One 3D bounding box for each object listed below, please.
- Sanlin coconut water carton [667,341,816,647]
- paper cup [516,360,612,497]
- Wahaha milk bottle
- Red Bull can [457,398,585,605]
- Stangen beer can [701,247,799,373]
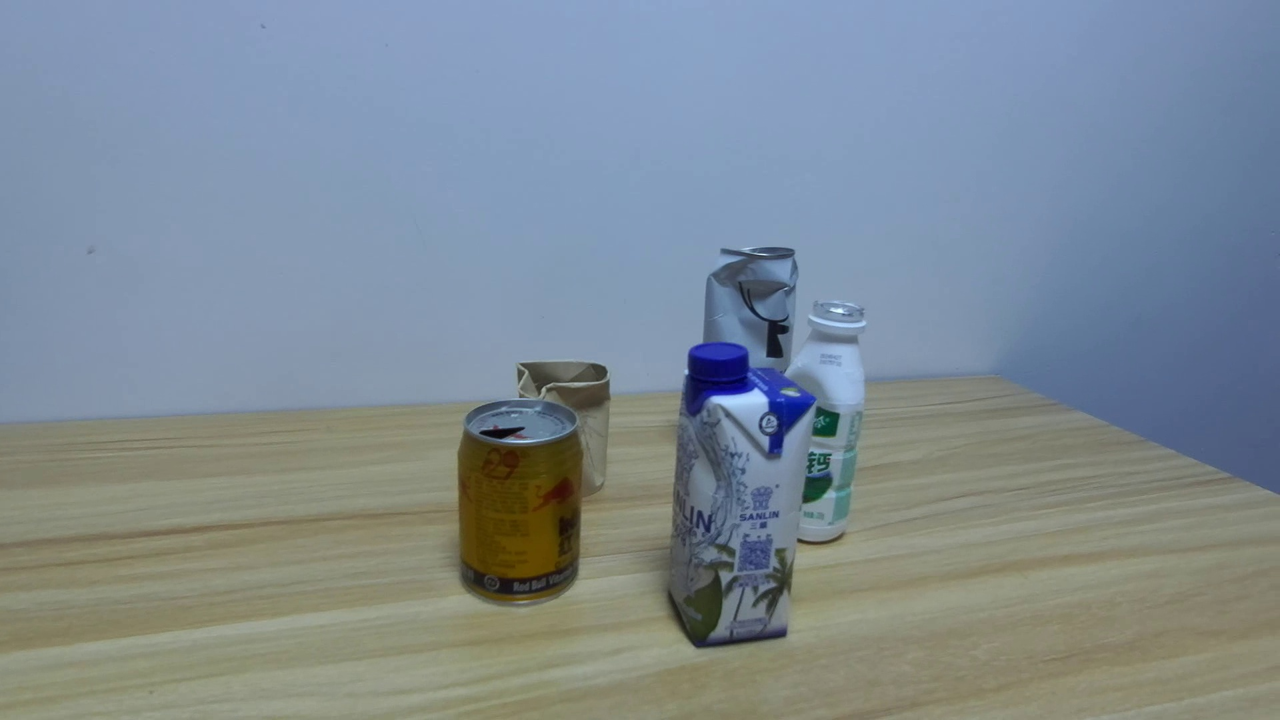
[{"bbox_3d":[0.048,0.064,0.350,0.061,0.144,0.060,0,16,-15],"label":"Sanlin coconut water carton"},{"bbox_3d":[-0.050,0.049,0.484,0.066,0.083,0.058,-2,20,-10],"label":"paper cup"},{"bbox_3d":[0.114,0.038,0.439,0.055,0.149,0.055,4,18,-1],"label":"Wahaha milk bottle"},{"bbox_3d":[-0.064,0.074,0.381,0.067,0.093,0.067,4,18,-1],"label":"Red Bull can"},{"bbox_3d":[0.082,0.000,0.526,0.066,0.166,0.066,6,19,16],"label":"Stangen beer can"}]
